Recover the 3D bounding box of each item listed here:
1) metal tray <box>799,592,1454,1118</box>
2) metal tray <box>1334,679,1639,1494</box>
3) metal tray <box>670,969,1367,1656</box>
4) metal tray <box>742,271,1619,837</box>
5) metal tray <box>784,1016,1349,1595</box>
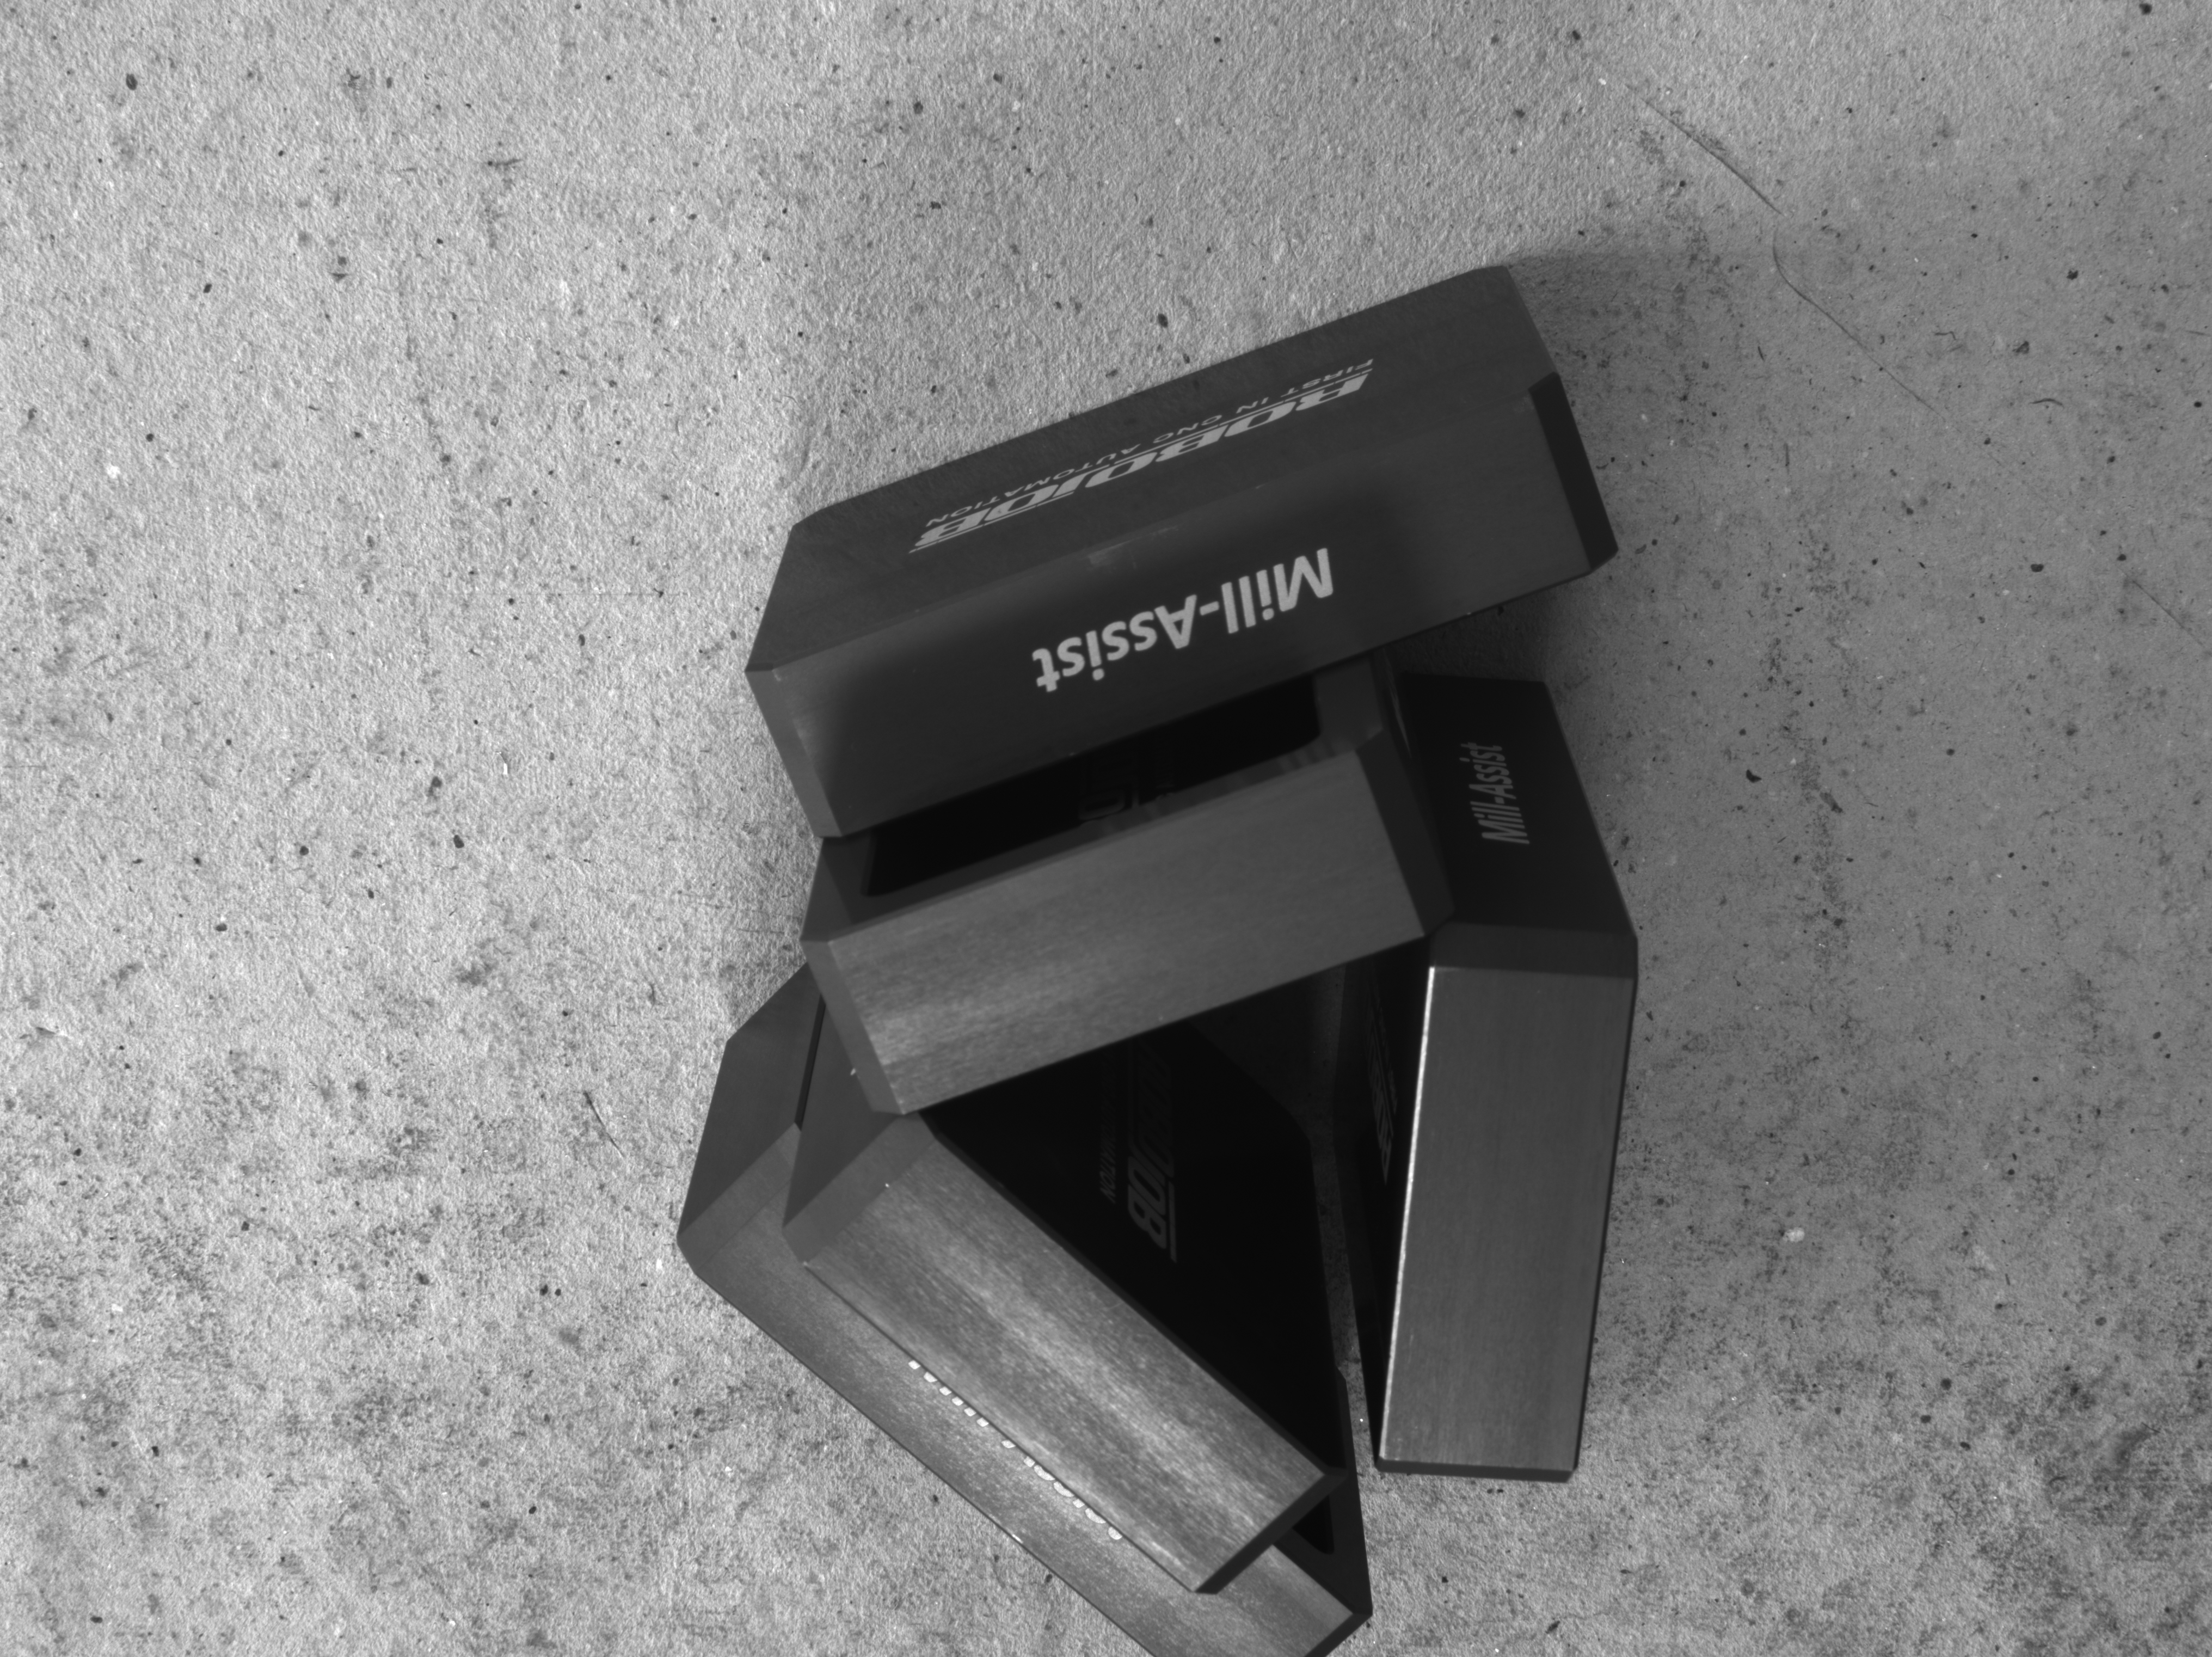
[{"bbox_3d":[0.003,-0.006,0.585,0.090,0.130,0.030,-19,109,7],"label":"metal tray"},{"bbox_3d":[0.059,0.037,0.601,0.030,0.130,0.090,4,110,-1],"label":"metal tray"},{"bbox_3d":[-0.013,0.086,0.640,0.130,0.090,0.030,42,105,-14],"label":"metal tray"},{"bbox_3d":[0.011,-0.046,0.592,0.130,0.090,0.030,-19,109,7],"label":"metal tray"},{"bbox_3d":[-0.005,0.059,0.609,0.090,0.130,0.030,42,104,-13],"label":"metal tray"}]
